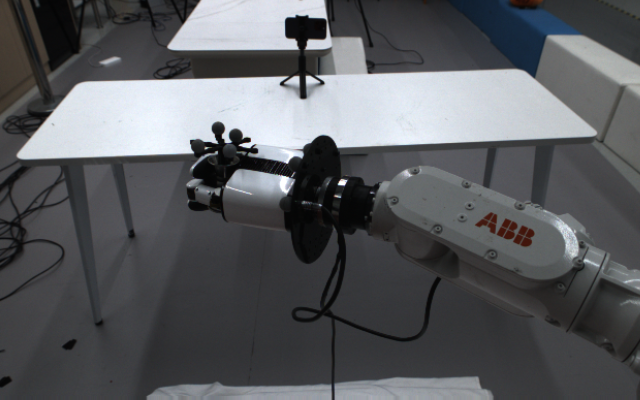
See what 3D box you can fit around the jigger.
[{"bbox_3d":[-0.124,-0.021,0.637,0.043,0.071,0.043,5,26,-3],"label":"jigger"}]
